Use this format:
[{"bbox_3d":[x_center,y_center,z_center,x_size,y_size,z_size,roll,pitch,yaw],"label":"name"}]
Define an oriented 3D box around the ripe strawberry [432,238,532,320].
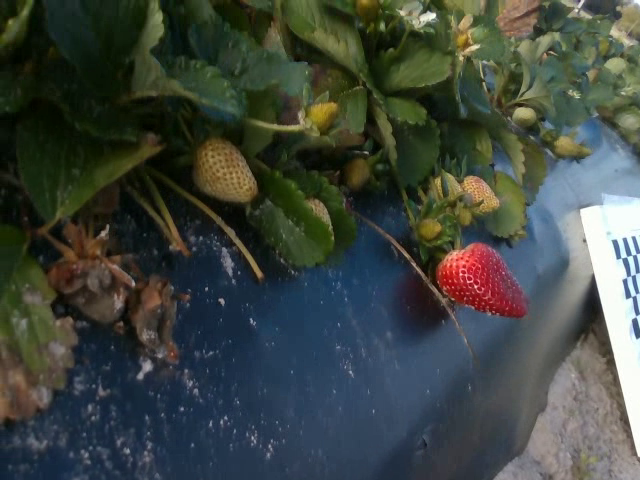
[{"bbox_3d":[0.119,0.029,0.427,0.067,0.045,0.052,40,29,27],"label":"ripe strawberry"}]
